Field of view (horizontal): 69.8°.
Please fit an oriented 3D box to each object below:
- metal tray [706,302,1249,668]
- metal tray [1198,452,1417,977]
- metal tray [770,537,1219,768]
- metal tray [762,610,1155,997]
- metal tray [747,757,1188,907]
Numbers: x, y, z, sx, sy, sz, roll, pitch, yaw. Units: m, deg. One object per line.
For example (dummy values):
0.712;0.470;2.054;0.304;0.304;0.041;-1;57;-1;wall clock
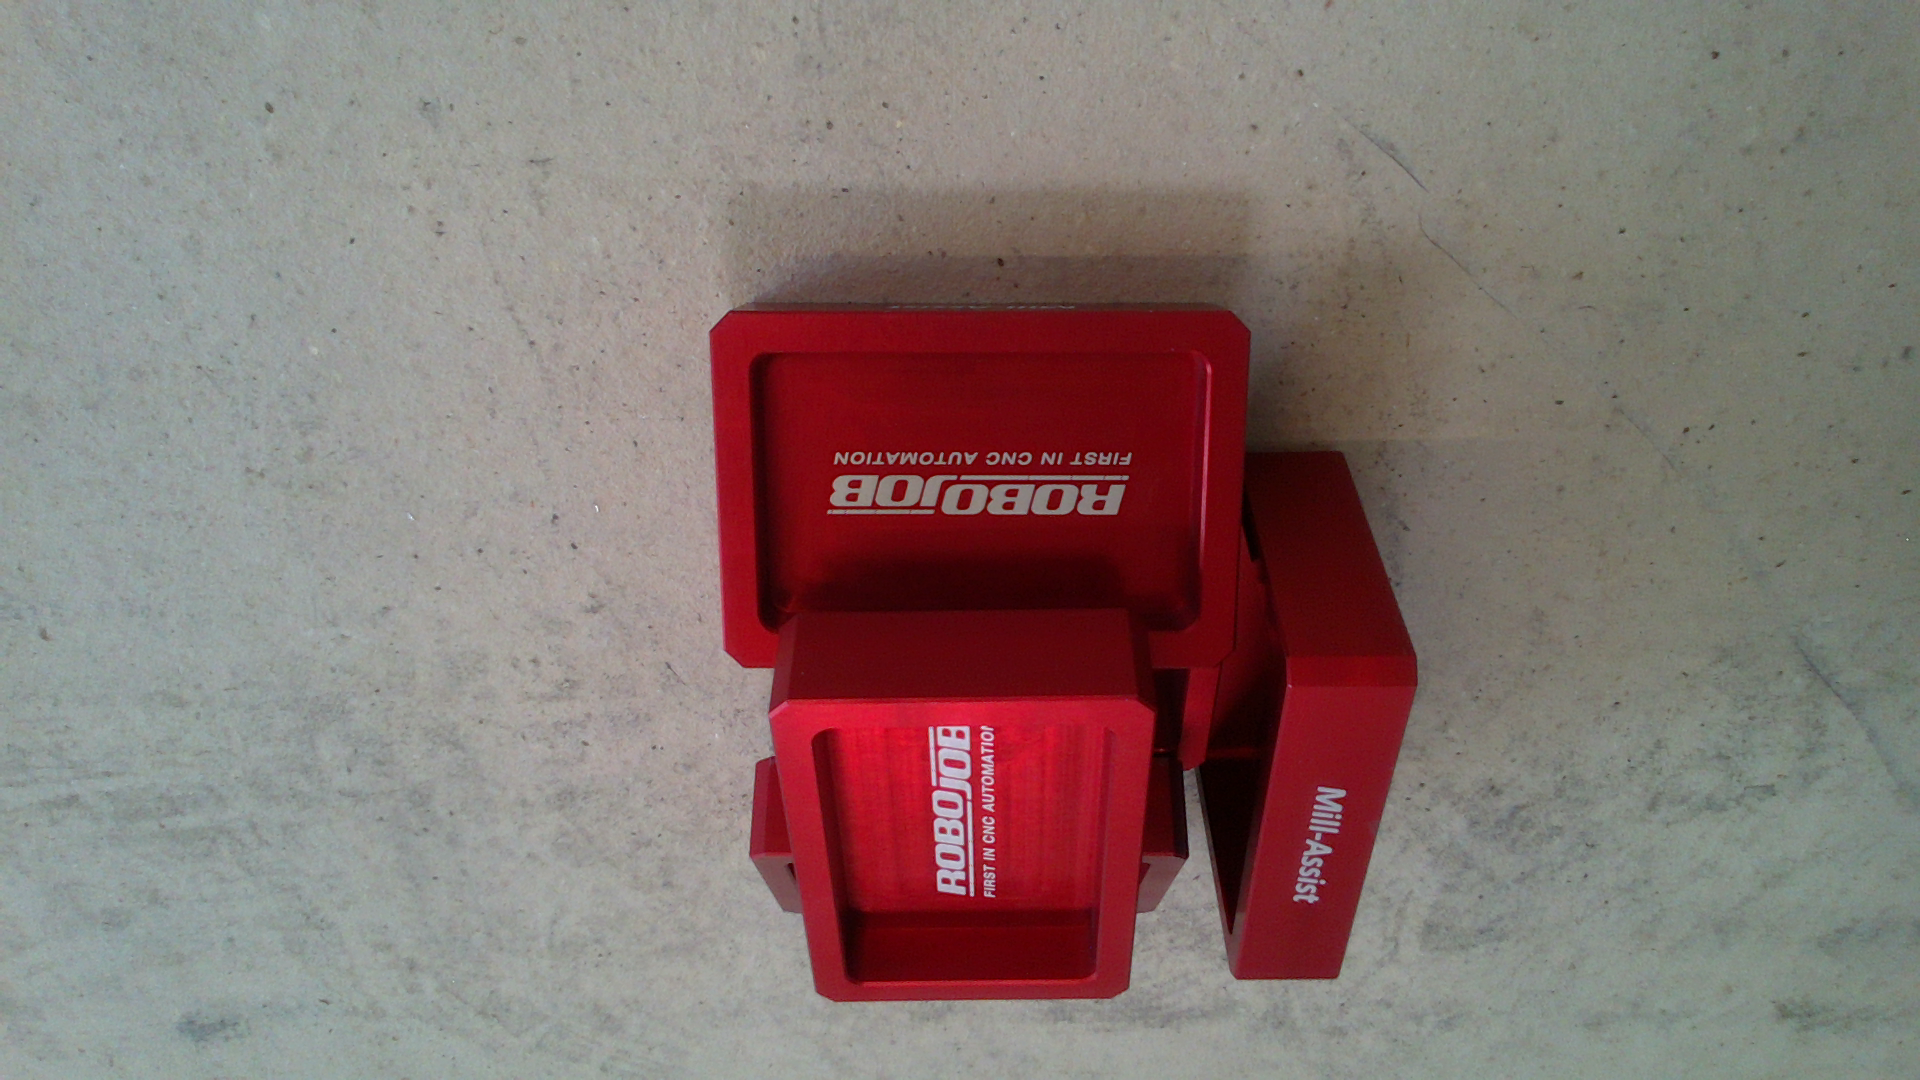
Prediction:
0.005;-0.015;0.352;0.130;0.030;0.090;-1;103;0;metal tray
0.093;0.051;0.392;0.030;0.090;0.130;-1;131;1;metal tray
0.010;0.029;0.410;0.130;0.030;0.090;-1;132;0;metal tray
0.001;0.075;0.366;0.090;0.030;0.130;-1;132;1;metal tray
0.002;0.098;0.448;0.130;0.030;0.090;0;155;0;metal tray
